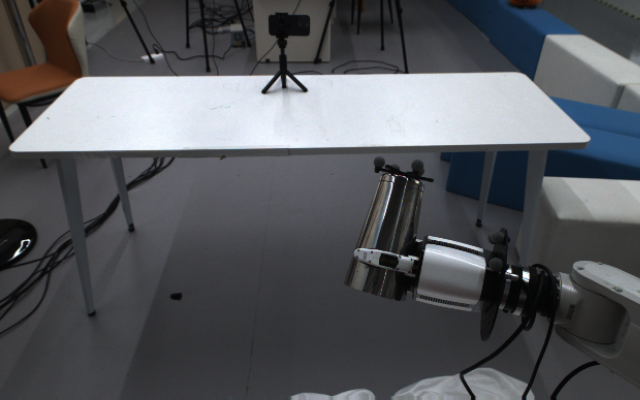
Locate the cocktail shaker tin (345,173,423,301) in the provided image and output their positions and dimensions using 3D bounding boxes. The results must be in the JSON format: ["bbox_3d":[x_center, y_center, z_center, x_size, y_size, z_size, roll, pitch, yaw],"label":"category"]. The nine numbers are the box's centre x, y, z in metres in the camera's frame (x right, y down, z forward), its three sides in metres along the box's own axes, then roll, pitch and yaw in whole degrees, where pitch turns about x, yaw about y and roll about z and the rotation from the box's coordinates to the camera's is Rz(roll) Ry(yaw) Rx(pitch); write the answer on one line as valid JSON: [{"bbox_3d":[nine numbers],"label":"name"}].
[{"bbox_3d":[0.100,0.052,0.710,0.093,0.170,0.093,15,-4,1],"label":"cocktail shaker tin"}]
